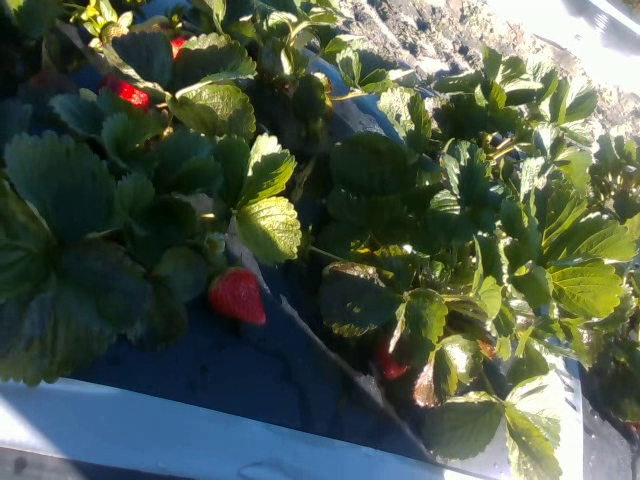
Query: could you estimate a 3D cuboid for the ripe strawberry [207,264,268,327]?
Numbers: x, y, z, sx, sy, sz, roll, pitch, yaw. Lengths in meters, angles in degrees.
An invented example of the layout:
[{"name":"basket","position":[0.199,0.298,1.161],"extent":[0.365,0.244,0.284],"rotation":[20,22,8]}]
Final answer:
[{"name":"ripe strawberry","position":[-0.059,0.045,0.461],"extent":[0.045,0.059,0.042],"rotation":[-35,-3,-11]}]
